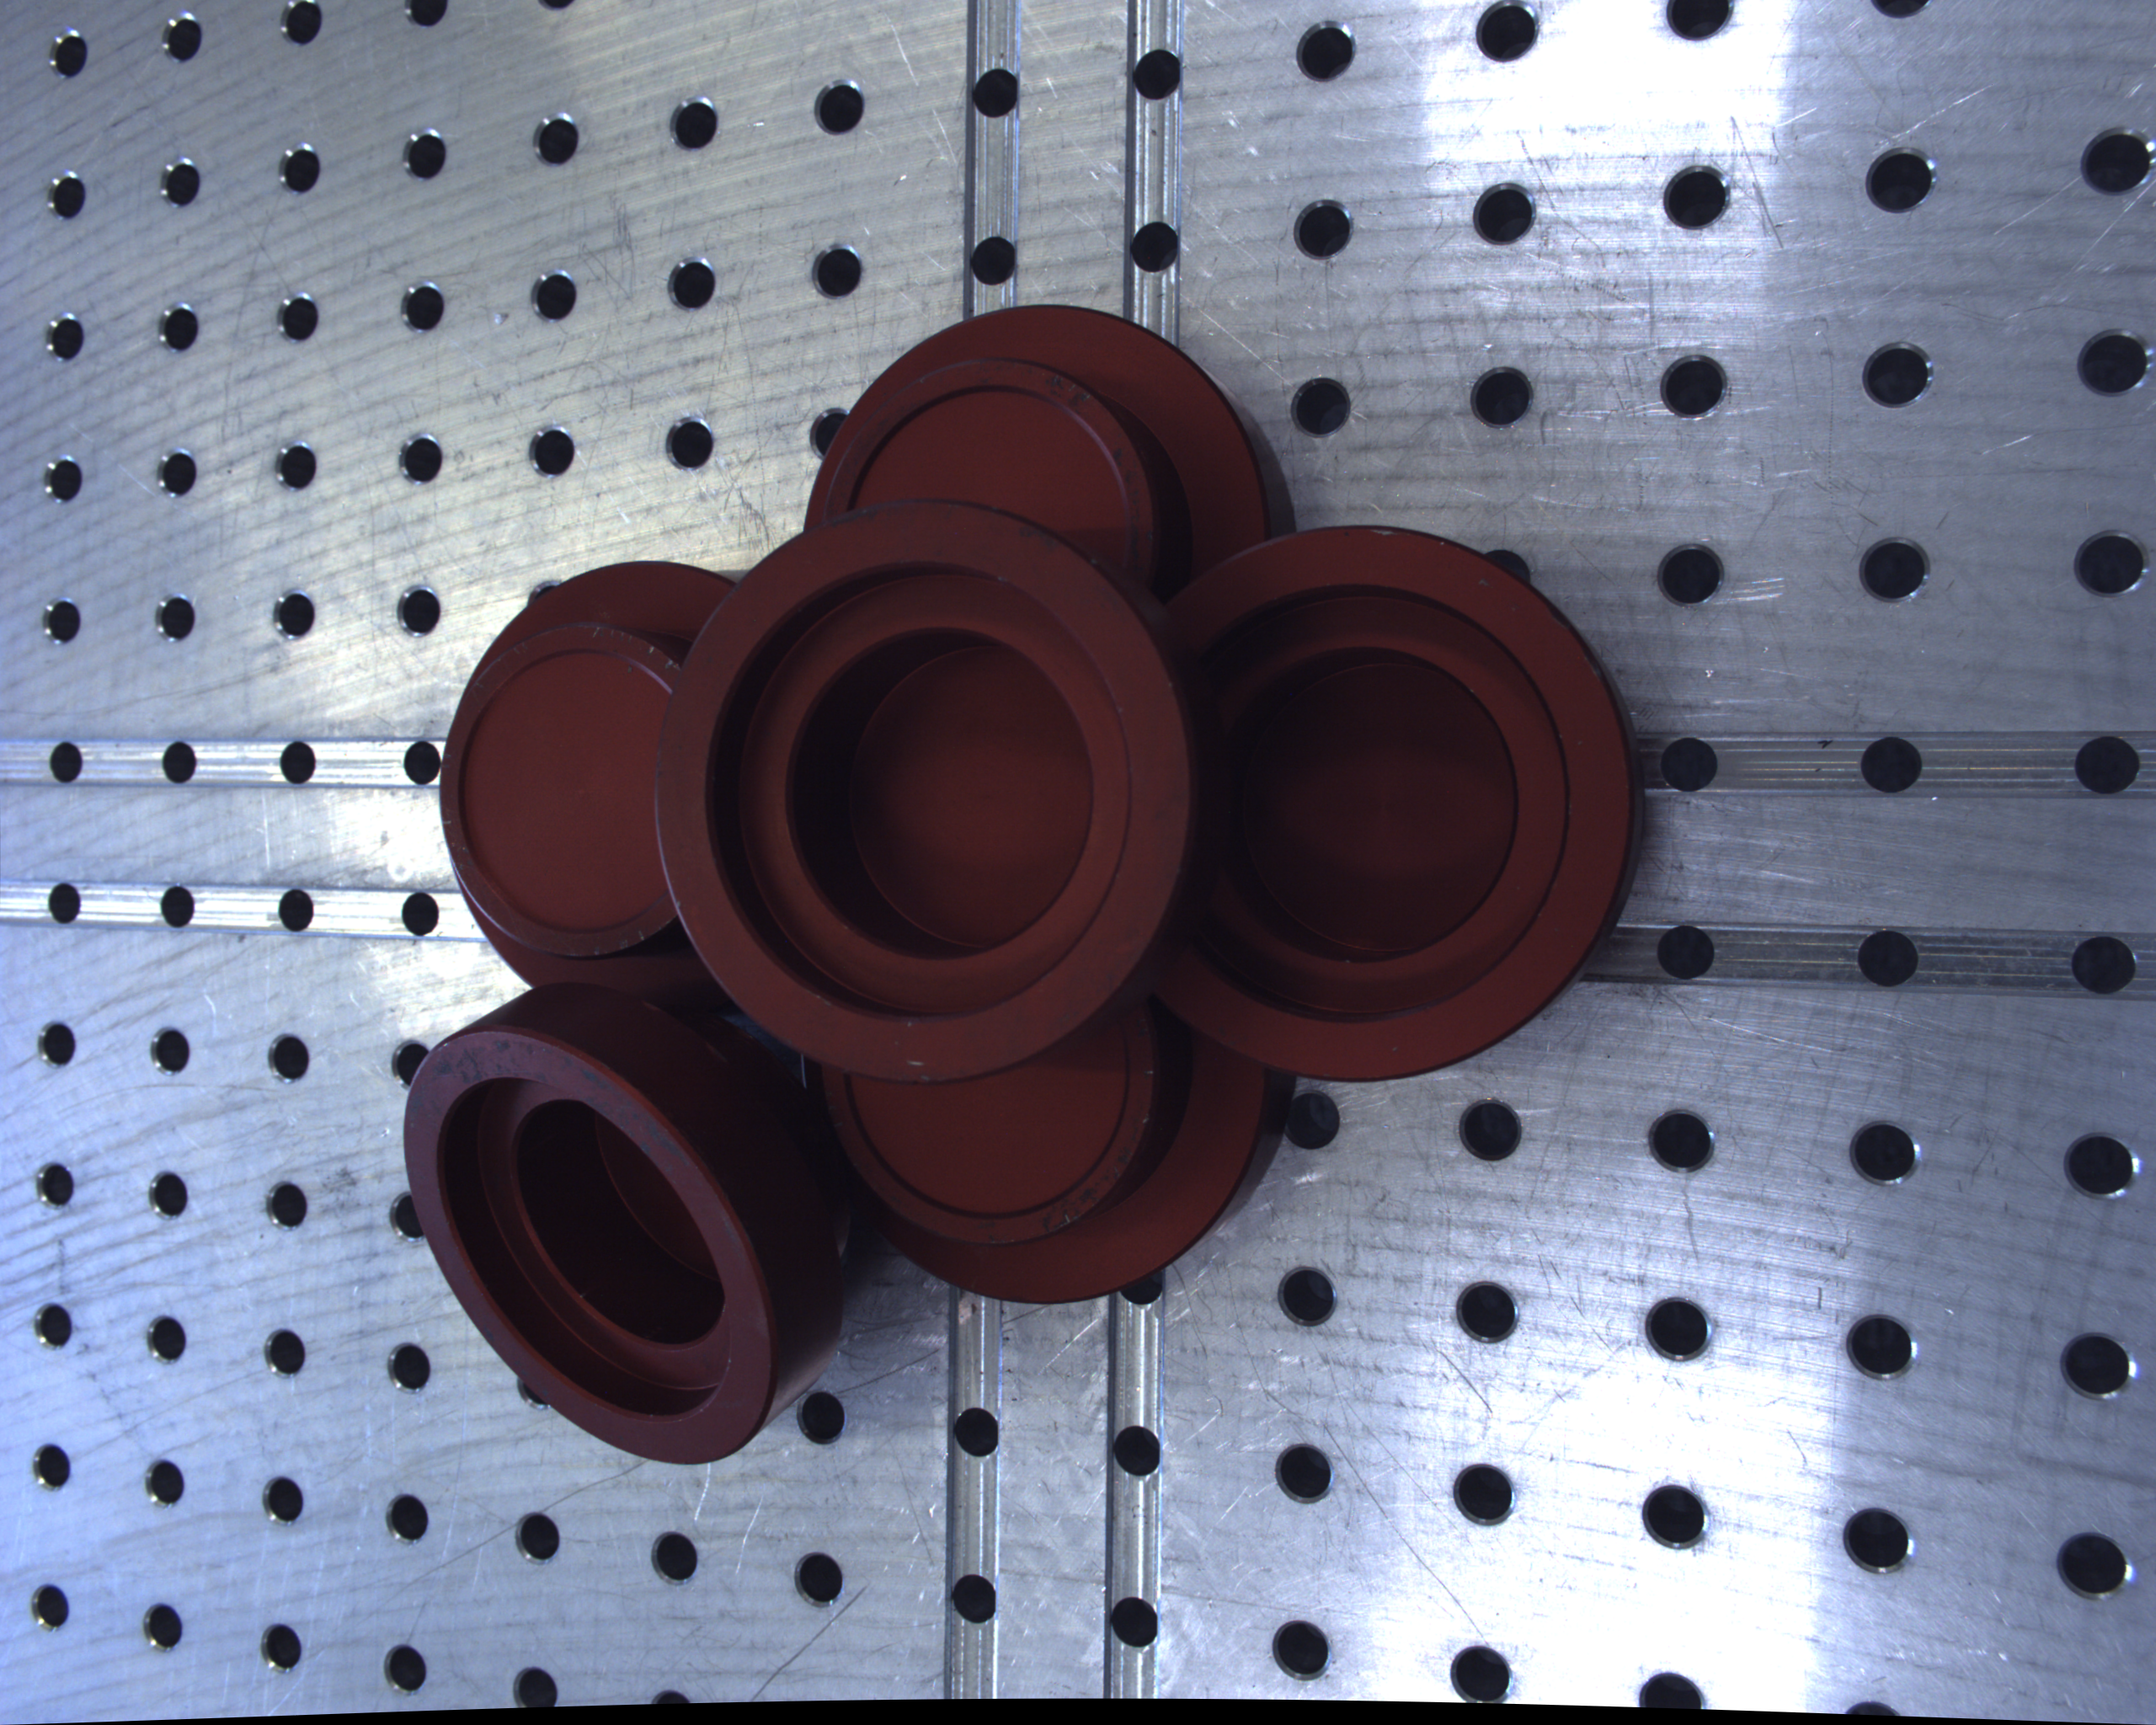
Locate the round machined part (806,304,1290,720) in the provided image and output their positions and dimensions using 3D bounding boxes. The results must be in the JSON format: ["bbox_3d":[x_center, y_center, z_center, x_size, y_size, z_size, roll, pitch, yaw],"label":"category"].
[{"bbox_3d":[-0.010,-0.060,0.408,0.098,0.042,0.097,0,90,20],"label":"round machined part"}]

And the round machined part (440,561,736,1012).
[{"bbox_3d":[-0.092,-0.014,0.437,0.098,0.042,0.097,0,90,20],"label":"round machined part"}]

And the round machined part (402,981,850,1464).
[{"bbox_3d":[-0.085,0.068,0.420,0.098,0.042,0.097,15,120,28],"label":"round machined part"}]

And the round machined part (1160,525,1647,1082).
[{"bbox_3d":[0.054,-0.010,0.384,0.098,0.042,0.097,0,90,20],"label":"round machined part"}]

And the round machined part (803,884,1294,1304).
[{"bbox_3d":[-0.010,0.038,0.407,0.098,0.042,0.097,0,90,20],"label":"round machined part"}]

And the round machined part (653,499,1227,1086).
[{"bbox_3d":[-0.021,-0.012,0.366,0.098,0.042,0.097,0,90,20],"label":"round machined part"}]
